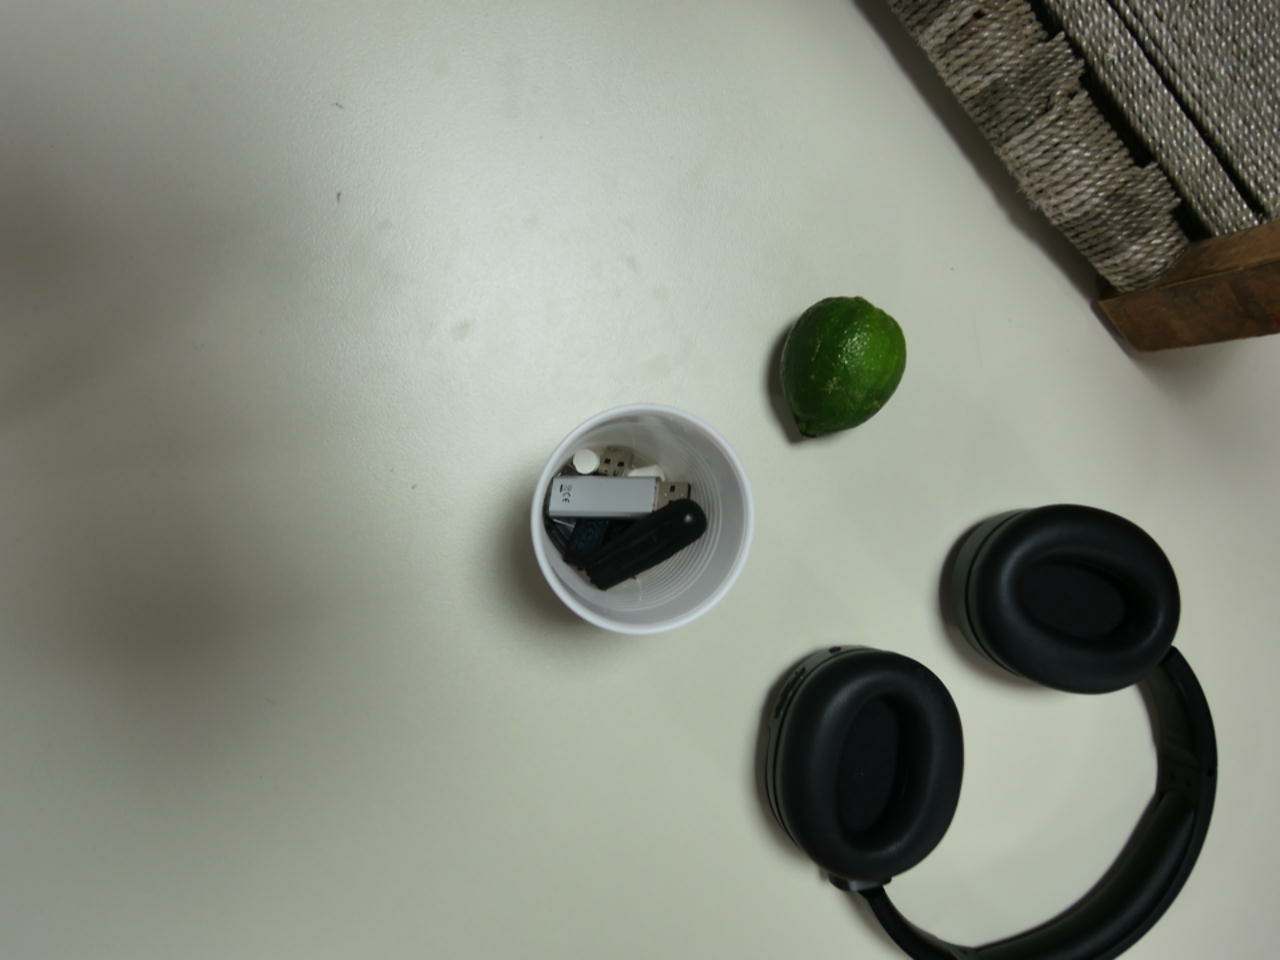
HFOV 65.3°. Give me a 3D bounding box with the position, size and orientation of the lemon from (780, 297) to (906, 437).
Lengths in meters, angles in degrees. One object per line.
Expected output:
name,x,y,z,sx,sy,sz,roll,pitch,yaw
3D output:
lemon,0.088,-0.051,0.432,0.054,0.051,0.057,-14,94,-11
